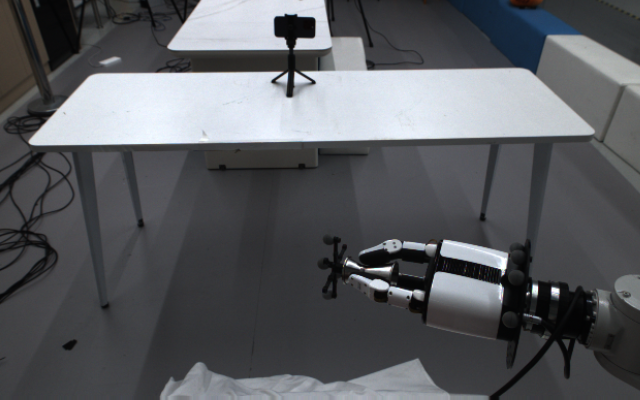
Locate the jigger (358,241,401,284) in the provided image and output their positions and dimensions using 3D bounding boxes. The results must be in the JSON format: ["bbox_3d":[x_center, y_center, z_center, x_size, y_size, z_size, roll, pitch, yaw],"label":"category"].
[{"bbox_3d":[0.074,0.097,0.654,0.071,0.043,0.043,6,34,22],"label":"jigger"}]
